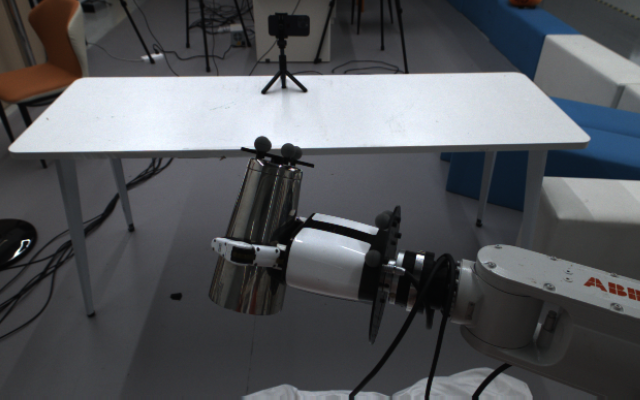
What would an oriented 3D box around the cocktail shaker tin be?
[{"bbox_3d":[-0.070,0.041,0.581,0.093,0.170,0.093,13,4,-1],"label":"cocktail shaker tin"}]
